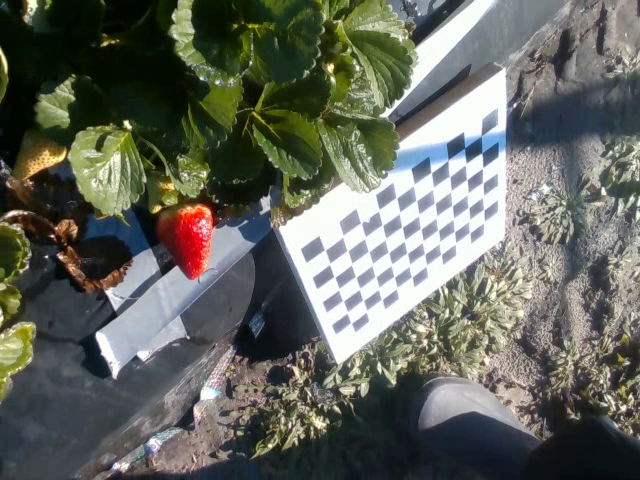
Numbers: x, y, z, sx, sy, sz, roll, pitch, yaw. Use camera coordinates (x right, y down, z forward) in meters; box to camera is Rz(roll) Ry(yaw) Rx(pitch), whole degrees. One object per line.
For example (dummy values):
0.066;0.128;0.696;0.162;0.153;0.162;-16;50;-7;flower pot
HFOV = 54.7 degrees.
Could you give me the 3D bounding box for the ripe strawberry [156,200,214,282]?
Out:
-0.114;0.004;0.558;0.061;0.065;0.057;-12;-3;-38;ripe strawberry
